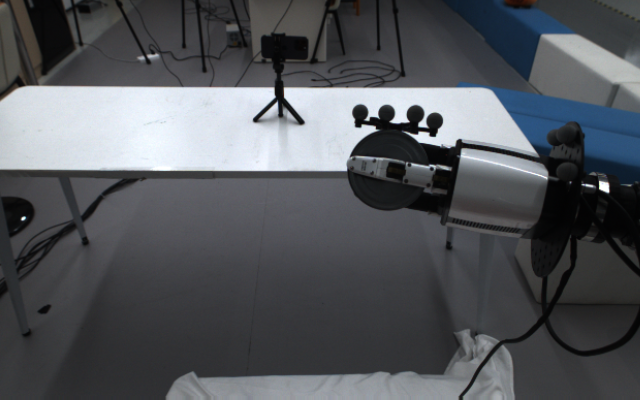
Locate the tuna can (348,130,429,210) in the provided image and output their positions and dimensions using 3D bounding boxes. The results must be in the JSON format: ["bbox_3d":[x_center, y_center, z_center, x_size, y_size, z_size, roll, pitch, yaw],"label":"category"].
[{"bbox_3d":[0.076,-0.035,0.524,0.085,0.085,0.034,10,4,12],"label":"tuna can"}]
